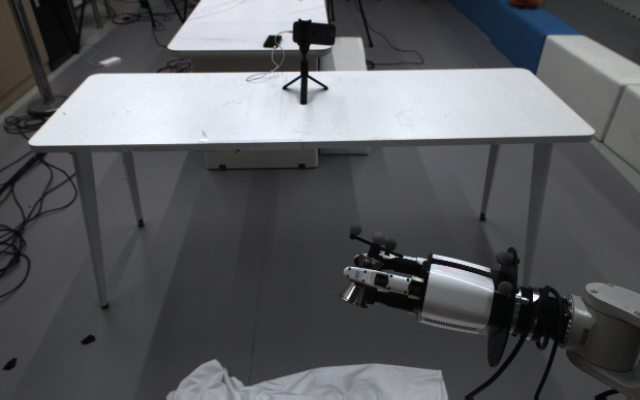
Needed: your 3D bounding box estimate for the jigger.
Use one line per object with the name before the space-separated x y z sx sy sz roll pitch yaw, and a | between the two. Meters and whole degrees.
jigger | 0.058 0.109 0.675 0.043 0.071 0.043 24 -3 1
